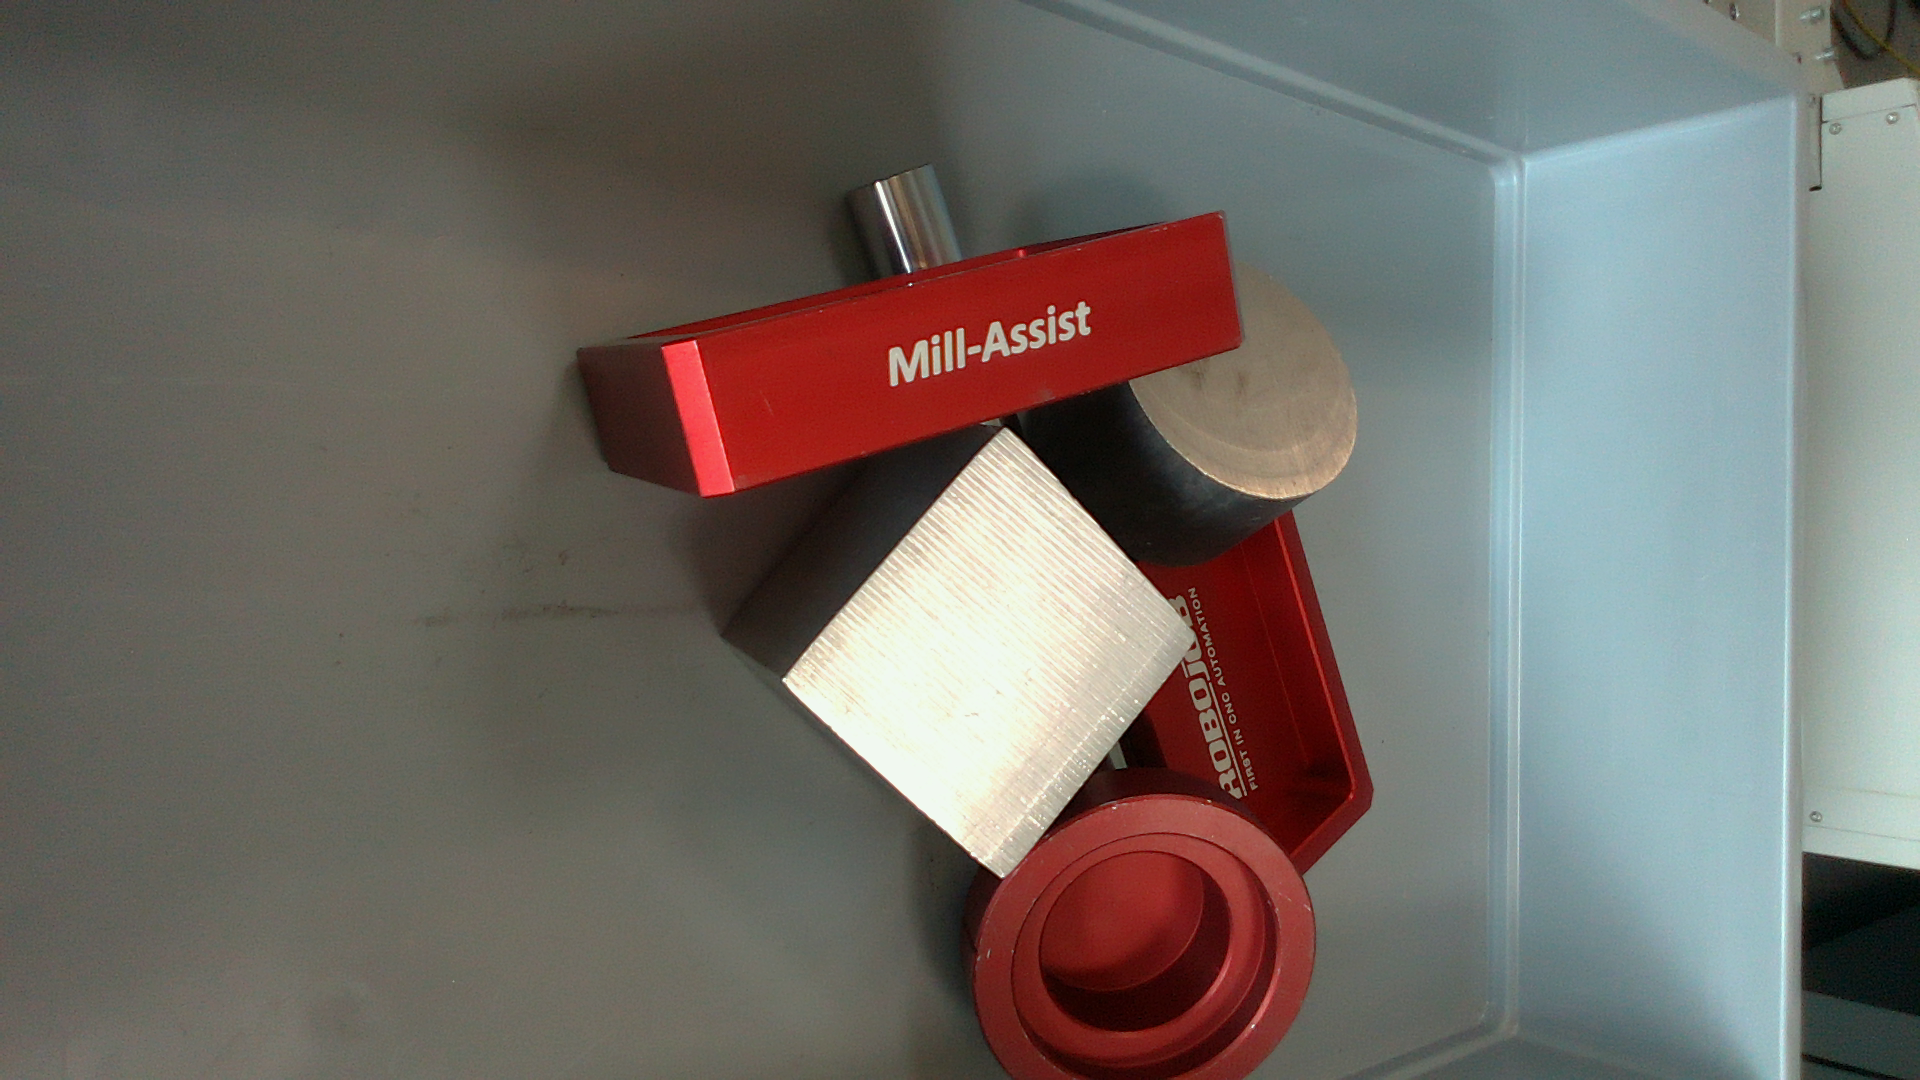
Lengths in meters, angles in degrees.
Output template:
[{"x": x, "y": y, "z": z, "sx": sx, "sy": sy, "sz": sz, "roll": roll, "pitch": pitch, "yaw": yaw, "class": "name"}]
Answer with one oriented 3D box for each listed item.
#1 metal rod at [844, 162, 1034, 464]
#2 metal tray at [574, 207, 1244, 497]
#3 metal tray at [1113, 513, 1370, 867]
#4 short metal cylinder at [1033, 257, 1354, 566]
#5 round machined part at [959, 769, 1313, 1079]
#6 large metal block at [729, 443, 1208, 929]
[{"x": 0.029, "y": 0.038, "z": 0.411, "sx": 0.025, "sy": 0.025, "sz": 0.300, "roll": -31, "pitch": 110, "yaw": -35, "class": "metal rod"}, {"x": -0.013, "y": -0.045, "z": 0.316, "sx": 0.130, "sy": 0.090, "sz": 0.030, "roll": -18, "pitch": 104, "yaw": -24, "class": "metal tray"}, {"x": 0.085, "y": 0.052, "z": 0.455, "sx": 0.090, "sy": 0.030, "sz": 0.130, "roll": -31, "pitch": 110, "yaw": -35, "class": "metal tray"}, {"x": 0.069, "y": -0.038, "z": 0.409, "sx": 0.080, "sy": 0.050, "sz": 0.080, "roll": 12, "pitch": 62, "yaw": -23, "class": "short metal cylinder"}, {"x": 0.048, "y": 0.111, "z": 0.398, "sx": 0.098, "sy": 0.042, "sz": 0.098, "roll": -2, "pitch": 103, "yaw": -10, "class": "round machined part"}, {"x": 0.003, "y": 0.035, "z": 0.350, "sx": 0.080, "sy": 0.050, "sz": 0.080, "roll": -40, "pitch": 116, "yaw": -13, "class": "large metal block"}]
